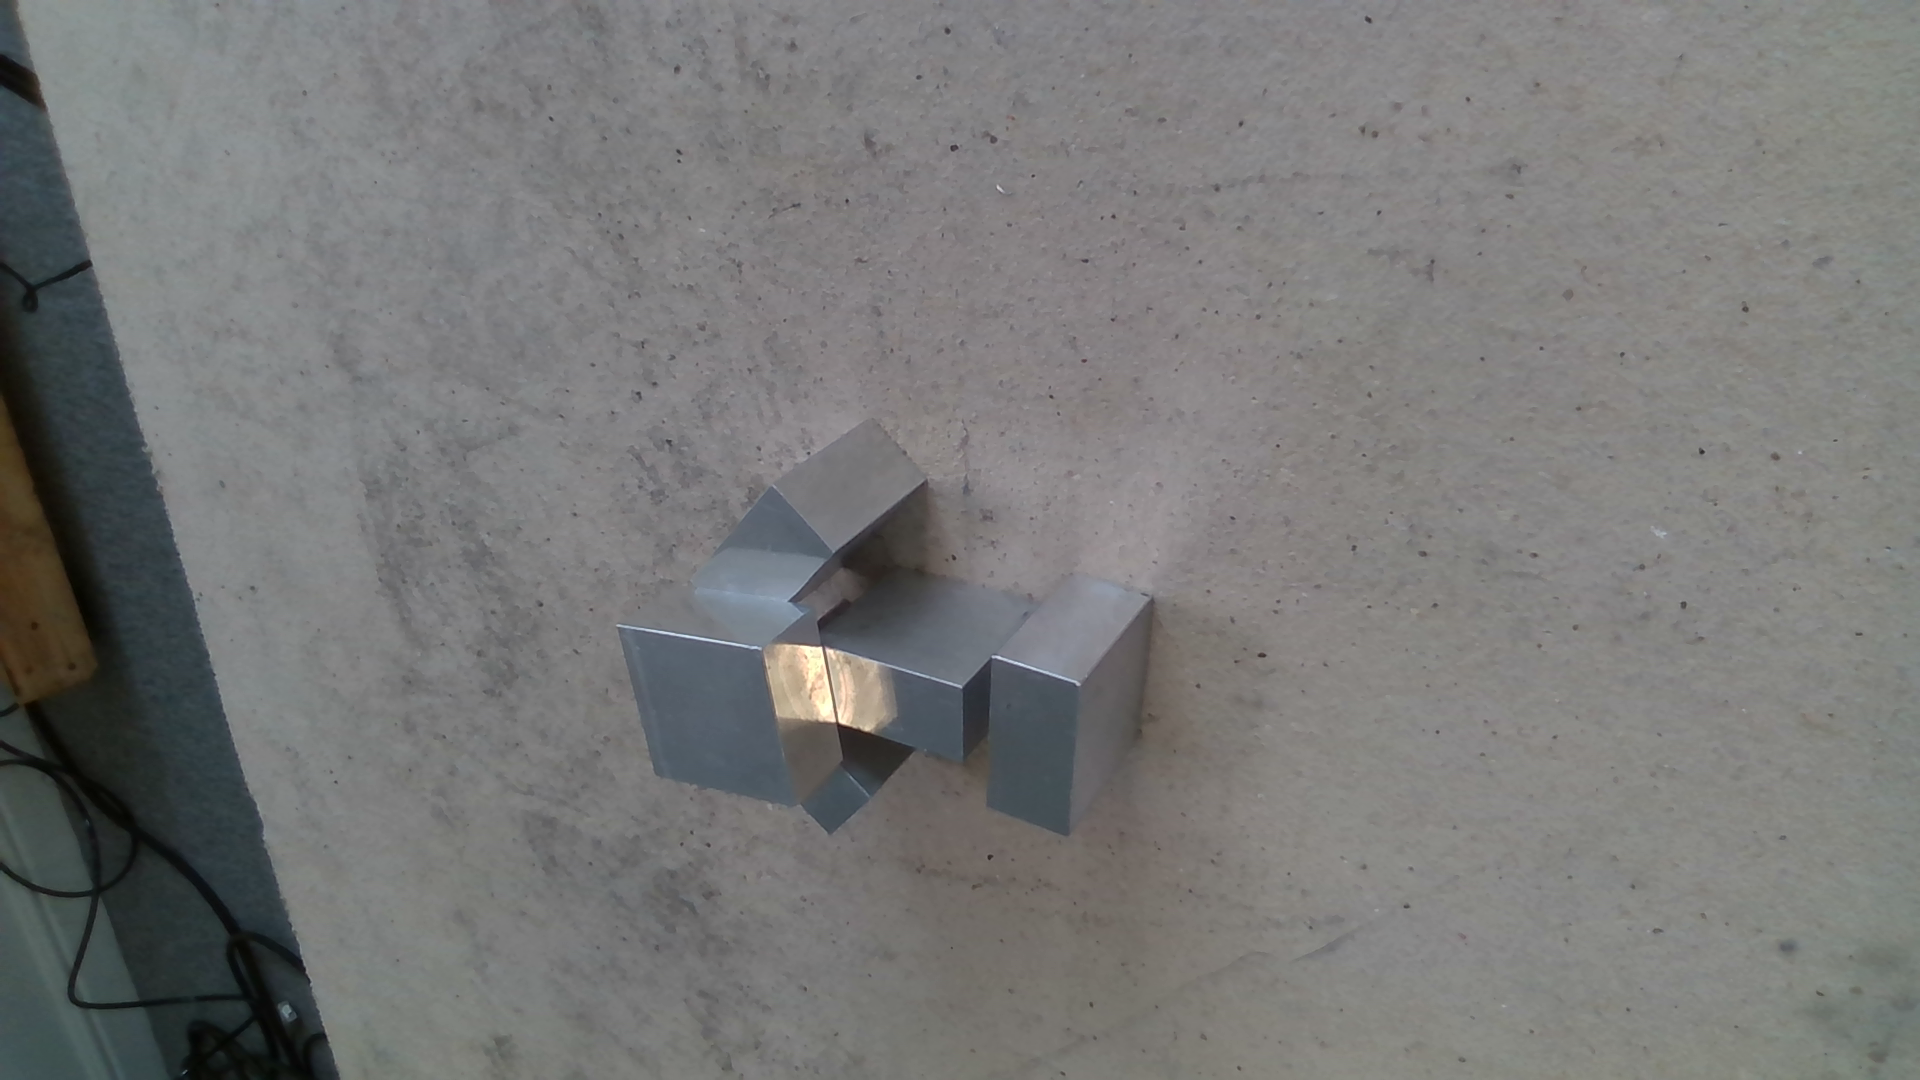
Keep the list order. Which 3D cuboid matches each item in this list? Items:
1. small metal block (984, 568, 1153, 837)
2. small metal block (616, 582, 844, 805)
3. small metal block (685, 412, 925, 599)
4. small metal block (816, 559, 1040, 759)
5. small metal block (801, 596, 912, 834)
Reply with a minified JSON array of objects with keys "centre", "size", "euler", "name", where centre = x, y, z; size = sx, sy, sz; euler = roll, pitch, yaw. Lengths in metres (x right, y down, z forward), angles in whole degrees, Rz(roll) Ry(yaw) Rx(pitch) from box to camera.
[{"centre":[0.030,0.044,0.378],"size":[0.025,0.050,0.050],"euler":[16,123,24],"name":"small metal block"},{"centre":[-0.064,0.042,0.388],"size":[0.050,0.025,0.050],"euler":[6,118,28],"name":"small metal block"},{"centre":[-0.045,-0.004,0.397],"size":[0.025,0.050,0.050],"euler":[47,131,1],"name":"small metal block"},{"centre":[-0.009,0.033,0.398],"size":[0.050,0.050,0.025],"euler":[13,122,25],"name":"small metal block"},{"centre":[-0.038,0.053,0.426],"size":[0.050,0.050,0.025],"euler":[45,129,3],"name":"small metal block"}]
